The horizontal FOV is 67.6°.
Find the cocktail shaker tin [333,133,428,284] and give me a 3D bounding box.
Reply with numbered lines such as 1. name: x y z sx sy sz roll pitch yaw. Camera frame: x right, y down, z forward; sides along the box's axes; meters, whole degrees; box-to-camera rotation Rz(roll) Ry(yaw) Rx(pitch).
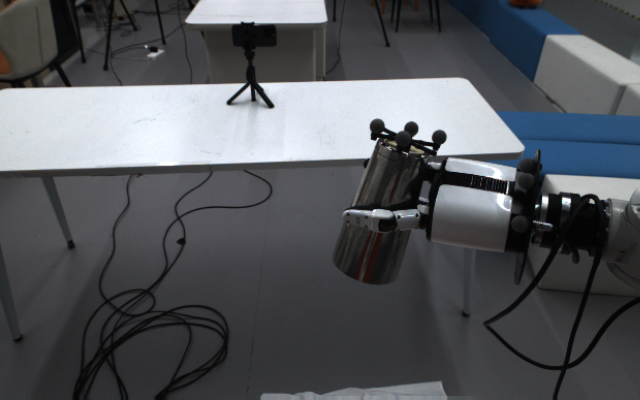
1. cocktail shaker tin: 0.083 0.008 0.614 0.093 0.170 0.093 12 24 -5
